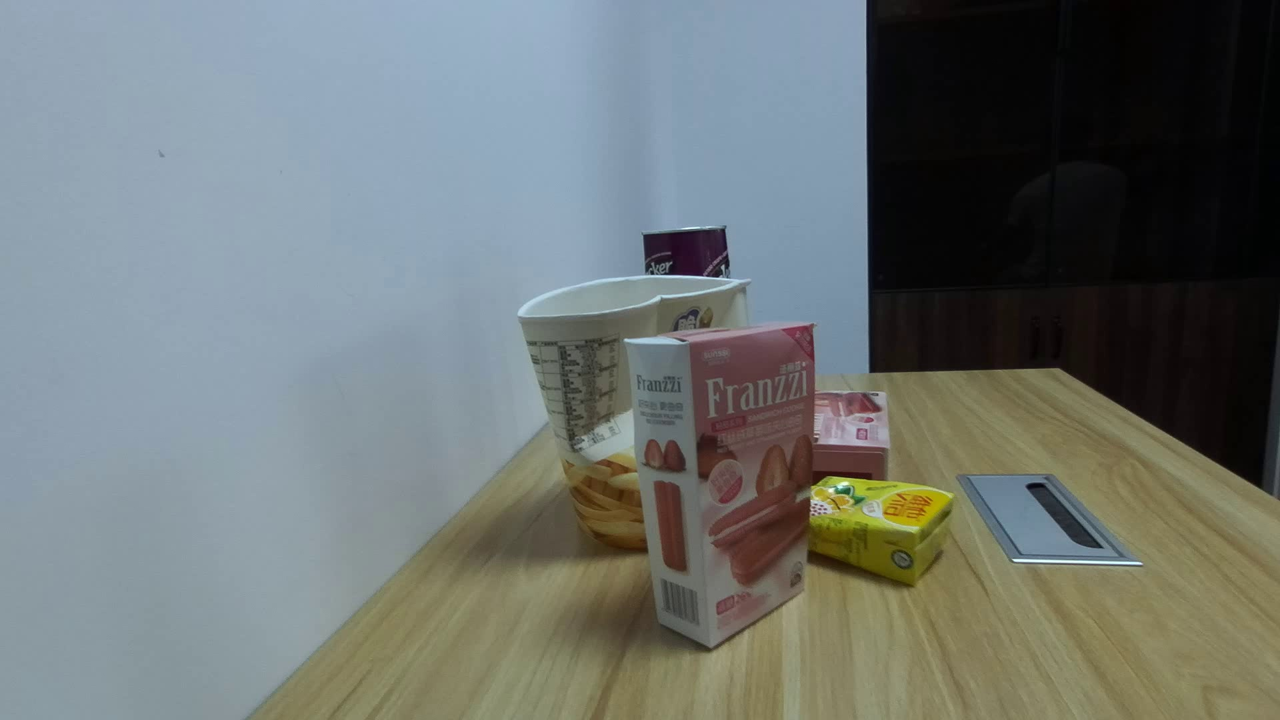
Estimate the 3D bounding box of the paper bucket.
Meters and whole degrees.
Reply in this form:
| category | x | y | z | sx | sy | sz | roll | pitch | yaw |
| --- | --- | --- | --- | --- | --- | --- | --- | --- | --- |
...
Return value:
| category | x | y | z | sx | sy | sz | roll | pitch | yaw |
| --- | --- | --- | --- | --- | --- | --- | --- | --- | --- |
| paper bucket | 0.014 | 0.034 | 0.590 | 0.147 | 0.199 | 0.218 | 0 | 13 | 17 |

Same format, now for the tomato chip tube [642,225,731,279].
| category | x | y | z | sx | sy | sz | roll | pitch | yaw |
| --- | --- | --- | --- | --- | --- | --- | --- | --- | --- |
| tomato chip tube | 0.058 | -0.020 | 0.749 | 0.077 | 0.235 | 0.076 | -2 | 9 | 24 |

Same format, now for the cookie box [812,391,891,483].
| category | x | y | z | sx | sy | sz | roll | pitch | yaw |
| --- | --- | --- | --- | --- | --- | --- | --- | --- | --- |
| cookie box | 0.194 | 0.076 | 0.693 | 0.096 | 0.048 | 0.185 | 1 | 13 | 19 |

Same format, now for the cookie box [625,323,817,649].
| category | x | y | z | sx | sy | sz | roll | pitch | yaw |
| --- | --- | --- | --- | --- | --- | --- | --- | --- | --- |
| cookie box | 0.058 | 0.071 | 0.444 | 0.119 | 0.184 | 0.055 | -11 | 14 | -33 |

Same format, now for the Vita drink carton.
| category | x | y | z | sx | sy | sz | roll | pitch | yaw |
| --- | --- | --- | --- | --- | --- | --- | --- | --- | --- |
| Vita drink carton | 0.165 | 0.120 | 0.518 | 0.087 | 0.042 | 0.107 | -22 | 18 | -41 |
